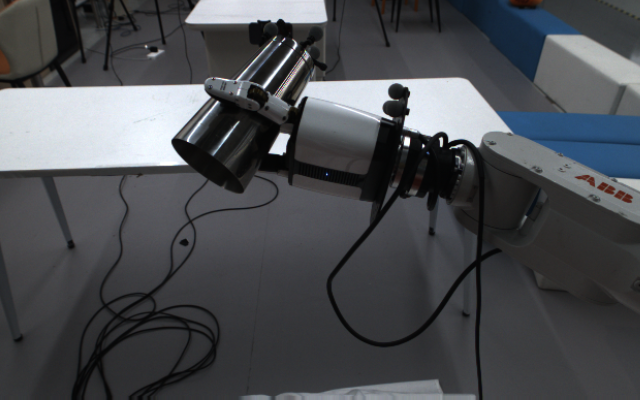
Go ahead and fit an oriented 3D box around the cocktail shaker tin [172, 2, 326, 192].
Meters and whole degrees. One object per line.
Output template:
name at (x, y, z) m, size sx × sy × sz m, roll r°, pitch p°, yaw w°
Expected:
cocktail shaker tin at (-0.077, -0.107, 0.544) m, size 0.093 × 0.093 × 0.170 m, roll 22°, pitch 67°, yaw 26°
